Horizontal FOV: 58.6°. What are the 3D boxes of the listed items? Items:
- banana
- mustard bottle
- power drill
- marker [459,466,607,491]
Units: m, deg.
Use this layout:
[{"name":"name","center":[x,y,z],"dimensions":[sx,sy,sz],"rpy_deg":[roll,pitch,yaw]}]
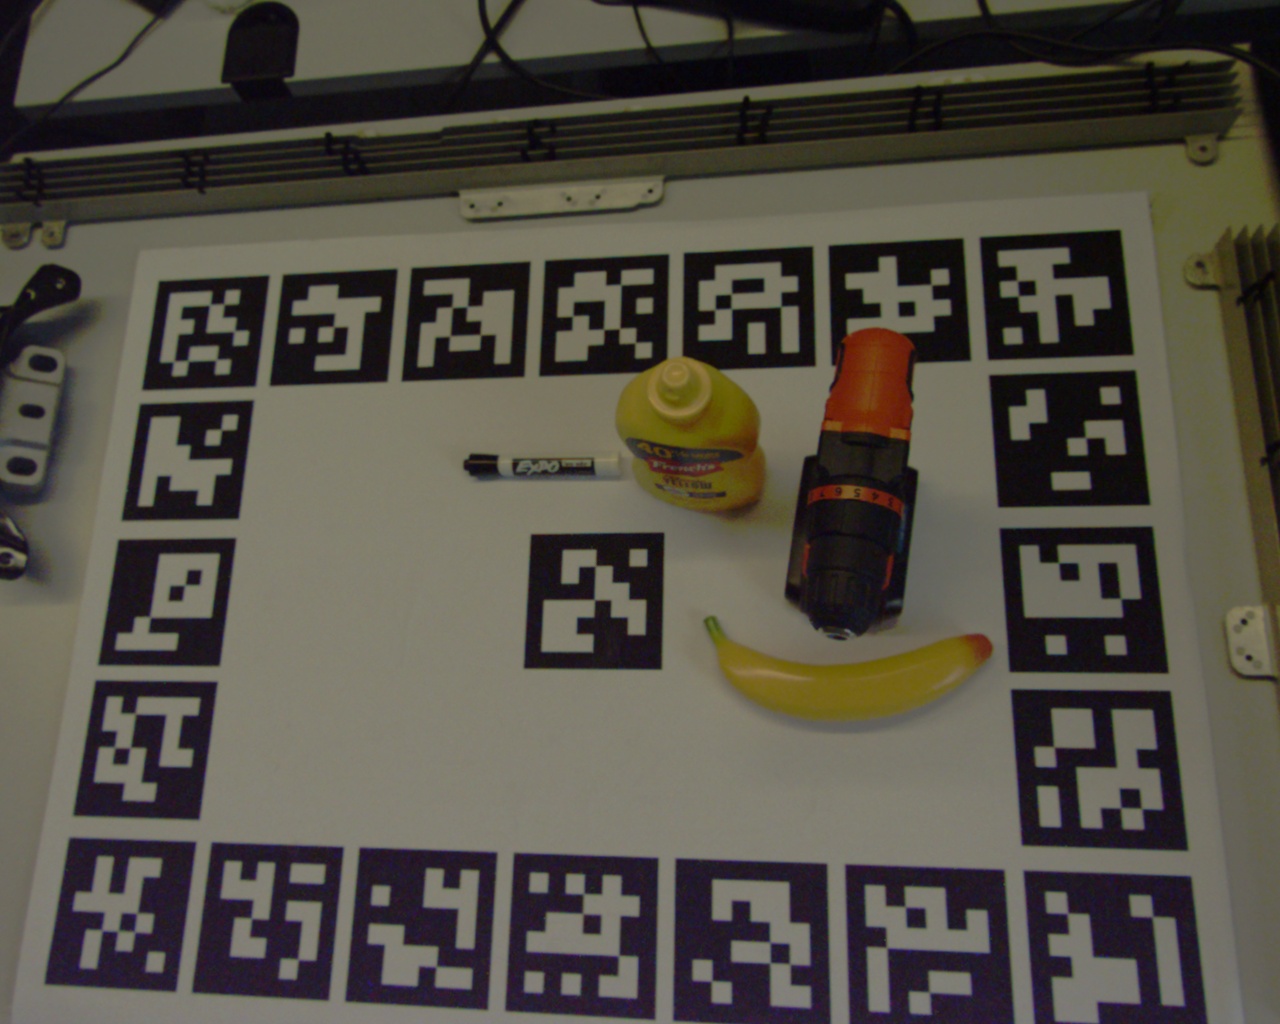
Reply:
[{"name":"banana","center":[0.128,0.124,0.835],"dimensions":[0.198,0.038,0.074],"rpy_deg":[7,78,13]},{"name":"mustard bottle","center":[0.026,-0.042,0.814],"dimensions":[0.097,0.190,0.058],"rpy_deg":[10,77,10]},{"name":"power drill","center":[0.127,0.015,0.765],"dimensions":[0.057,0.186,0.184],"rpy_deg":[13,75,9]},{"name":"marker","center":[-0.087,-0.027,0.919],"dimensions":[0.121,0.019,0.020],"rpy_deg":[1,76,10]}]
